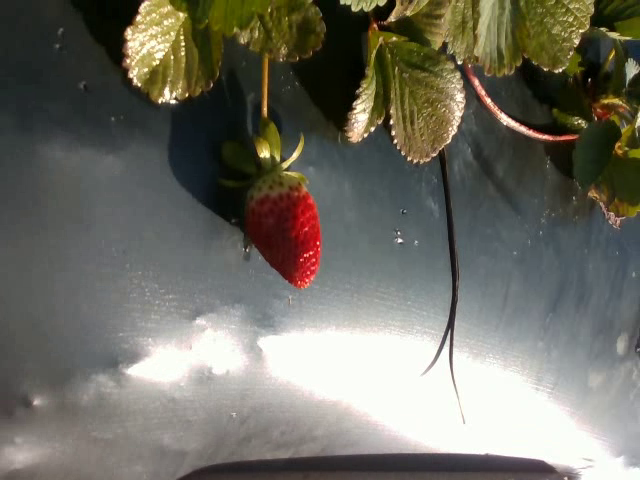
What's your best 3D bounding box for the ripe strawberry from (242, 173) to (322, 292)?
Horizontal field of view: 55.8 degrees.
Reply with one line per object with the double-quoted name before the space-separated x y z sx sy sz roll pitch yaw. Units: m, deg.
"ripe strawberry" -0.010 -0.002 0.181 0.028 0.041 0.031 -11 -24 -20
